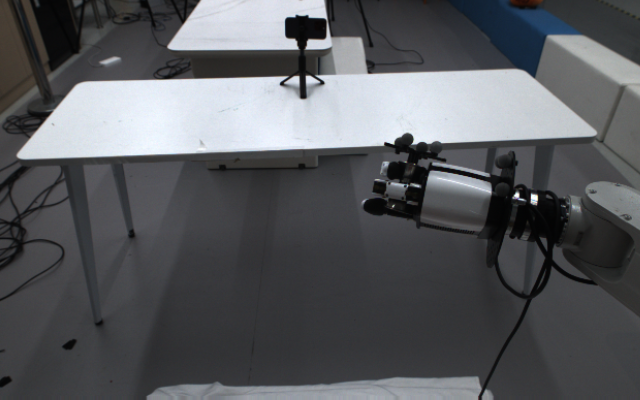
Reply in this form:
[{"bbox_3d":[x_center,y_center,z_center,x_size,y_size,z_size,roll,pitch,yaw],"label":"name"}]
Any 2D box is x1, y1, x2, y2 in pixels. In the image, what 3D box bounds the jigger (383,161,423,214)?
[{"bbox_3d":[0.120,-0.018,0.677,0.043,0.071,0.043,17,2,-1],"label":"jigger"}]
